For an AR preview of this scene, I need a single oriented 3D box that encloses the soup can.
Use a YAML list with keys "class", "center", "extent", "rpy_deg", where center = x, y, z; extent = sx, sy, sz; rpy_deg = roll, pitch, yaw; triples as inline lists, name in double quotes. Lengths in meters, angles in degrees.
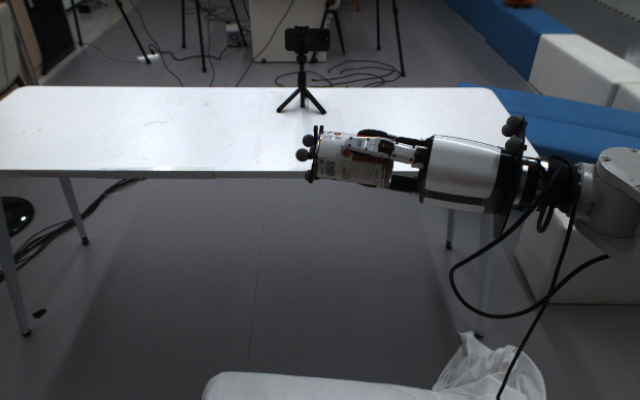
- class: "soup can"
  center: [0.051, -0.057, 0.664]
  extent: [0.101, 0.067, 0.067]
  rpy_deg: [7, 35, 10]
